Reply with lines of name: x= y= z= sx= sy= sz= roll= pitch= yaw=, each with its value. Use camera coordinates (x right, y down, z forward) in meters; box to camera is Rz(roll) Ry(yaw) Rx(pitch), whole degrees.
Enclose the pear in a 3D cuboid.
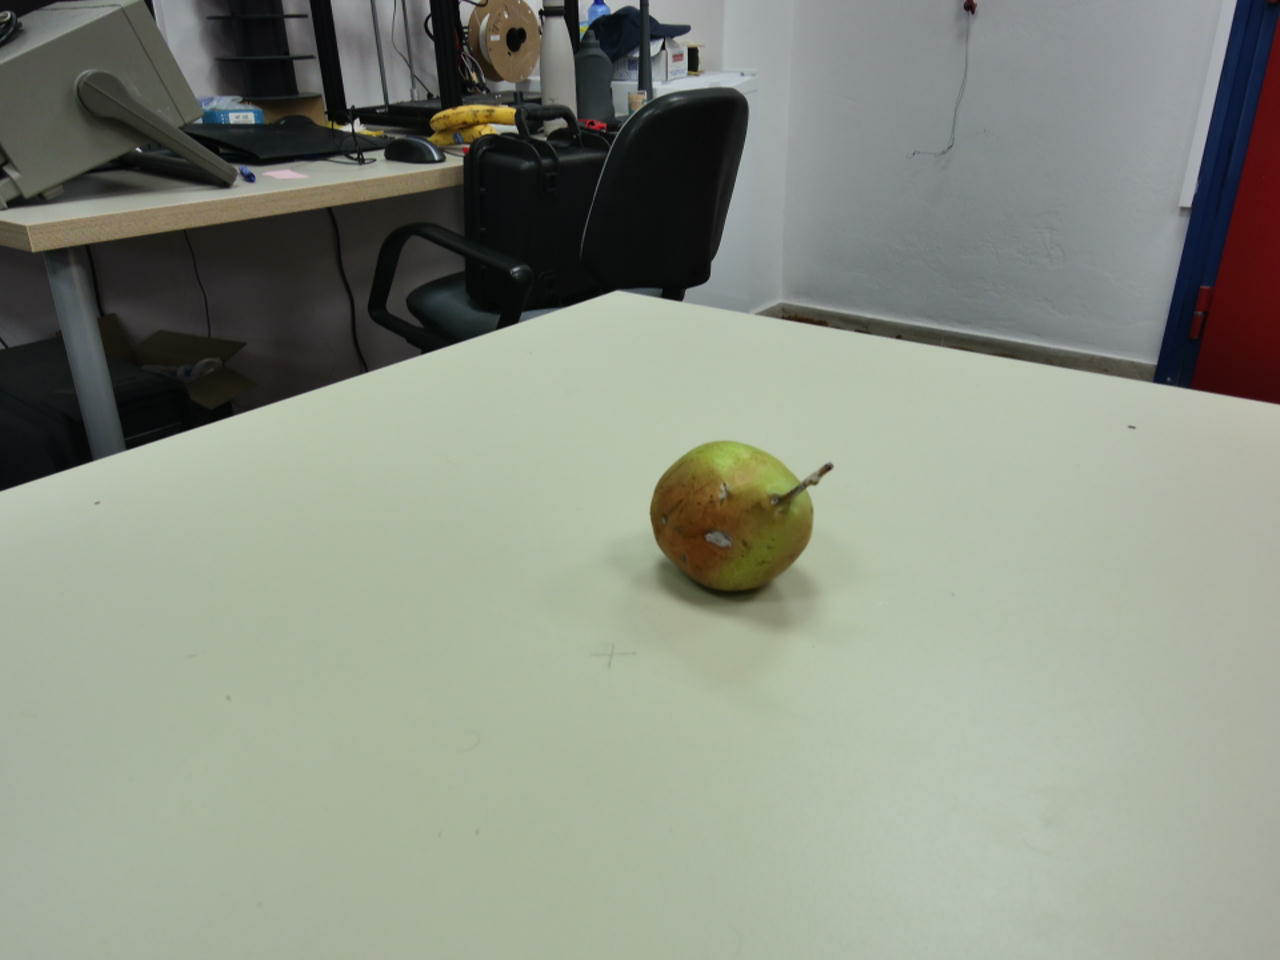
pear: x=0.038 y=0.013 z=0.424 sx=0.068 sy=0.069 sz=0.070 roll=1 pitch=23 yaw=0
